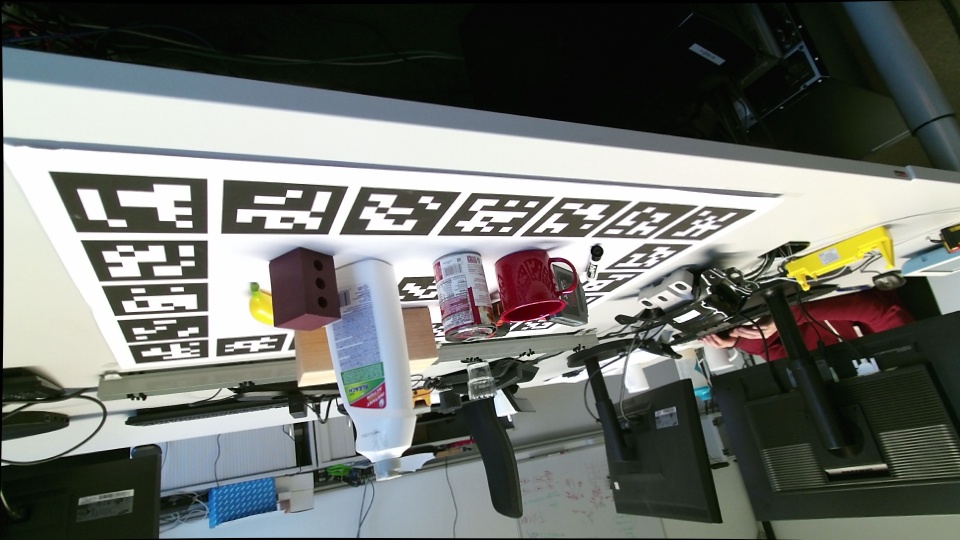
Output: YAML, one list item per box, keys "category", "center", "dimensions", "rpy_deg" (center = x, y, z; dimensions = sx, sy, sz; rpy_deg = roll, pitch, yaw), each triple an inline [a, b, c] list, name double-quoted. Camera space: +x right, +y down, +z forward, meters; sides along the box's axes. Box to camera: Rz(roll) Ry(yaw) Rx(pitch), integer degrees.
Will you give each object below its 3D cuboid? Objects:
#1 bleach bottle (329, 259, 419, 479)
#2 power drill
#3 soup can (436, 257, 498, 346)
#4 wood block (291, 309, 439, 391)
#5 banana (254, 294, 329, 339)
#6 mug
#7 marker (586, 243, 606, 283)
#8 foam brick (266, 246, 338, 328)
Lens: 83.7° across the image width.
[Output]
- category: "bleach bottle"
  center: [-0.128, 0.118, 0.640]
  dimensions: [0.103, 0.249, 0.068]
  rpy_deg: [-24, 157, 29]
- category: "power drill"
  center: [0.056, 0.068, 0.894]
  dimensions: [0.187, 0.057, 0.185]
  rpy_deg: [-24, 153, 30]
- category: "soup can"
  center: [-0.018, 0.042, 0.696]
  dimensions: [0.068, 0.101, 0.068]
  rpy_deg: [-8, 161, -3]
- category: "wood block"
  center: [-0.183, 0.124, 0.846]
  dimensions: [0.207, 0.090, 0.090]
  rpy_deg: [-2, 155, -26]
- category: "banana"
  center: [-0.223, 0.069, 0.745]
  dimensions: [0.198, 0.038, 0.074]
  rpy_deg: [10, 136, -40]
- category: "mug"
  center: [0.077, 0.024, 0.747]
  dimensions: [0.117, 0.081, 0.093]
  rpy_deg: [-22, 155, 15]
- category: "marker"
  center: [0.175, -0.010, 0.810]
  dimensions: [0.020, 0.019, 0.121]
  rpy_deg: [-15, 158, 0]
- category: "foam brick"
  center: [-0.198, 0.020, 0.598]
  dimensions: [0.051, 0.077, 0.053]
  rpy_deg: [-21, 159, 25]
